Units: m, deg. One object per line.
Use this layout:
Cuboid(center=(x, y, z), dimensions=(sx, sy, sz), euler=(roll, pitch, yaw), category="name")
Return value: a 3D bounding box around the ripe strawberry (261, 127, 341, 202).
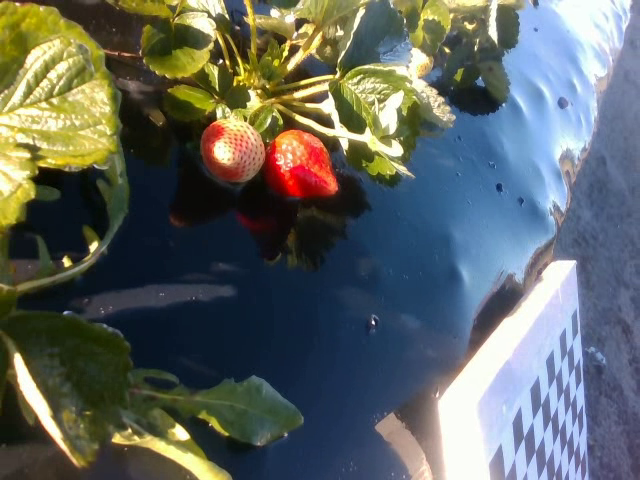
Cuboid(center=(-0.003, -0.036, 0.305), dimensions=(0.040, 0.037, 0.055), euler=(-32, 31, -23), category="ripe strawberry")
